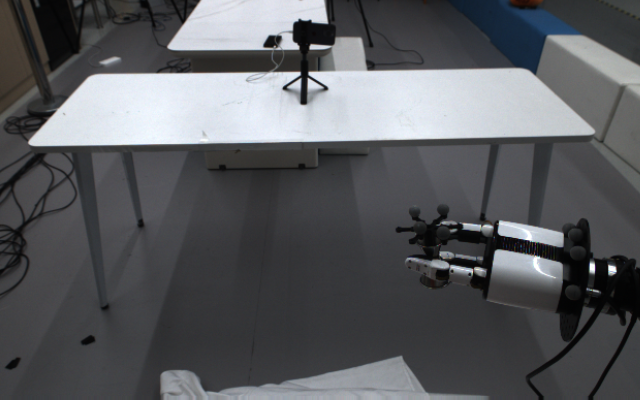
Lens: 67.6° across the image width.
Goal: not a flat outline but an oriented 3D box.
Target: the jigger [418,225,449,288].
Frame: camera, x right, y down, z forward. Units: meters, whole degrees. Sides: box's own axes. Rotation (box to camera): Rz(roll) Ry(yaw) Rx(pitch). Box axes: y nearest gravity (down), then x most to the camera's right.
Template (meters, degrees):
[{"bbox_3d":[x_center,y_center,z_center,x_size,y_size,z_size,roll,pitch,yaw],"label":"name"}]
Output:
[{"bbox_3d":[0.159,0.081,0.682,0.043,0.071,0.043,-11,23,5],"label":"jigger"}]
